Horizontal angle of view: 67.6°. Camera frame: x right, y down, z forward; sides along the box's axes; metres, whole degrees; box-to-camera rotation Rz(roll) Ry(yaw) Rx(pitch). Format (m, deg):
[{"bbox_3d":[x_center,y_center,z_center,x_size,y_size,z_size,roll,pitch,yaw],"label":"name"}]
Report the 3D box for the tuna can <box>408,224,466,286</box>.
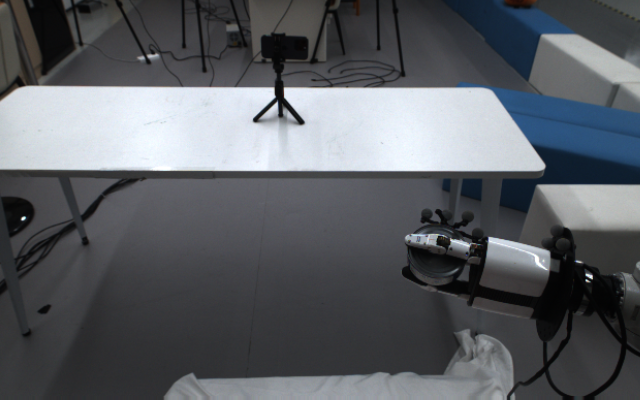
[{"bbox_3d":[0.171,0.076,0.703,0.085,0.034,0.085,-4,55,6],"label":"tuna can"}]
